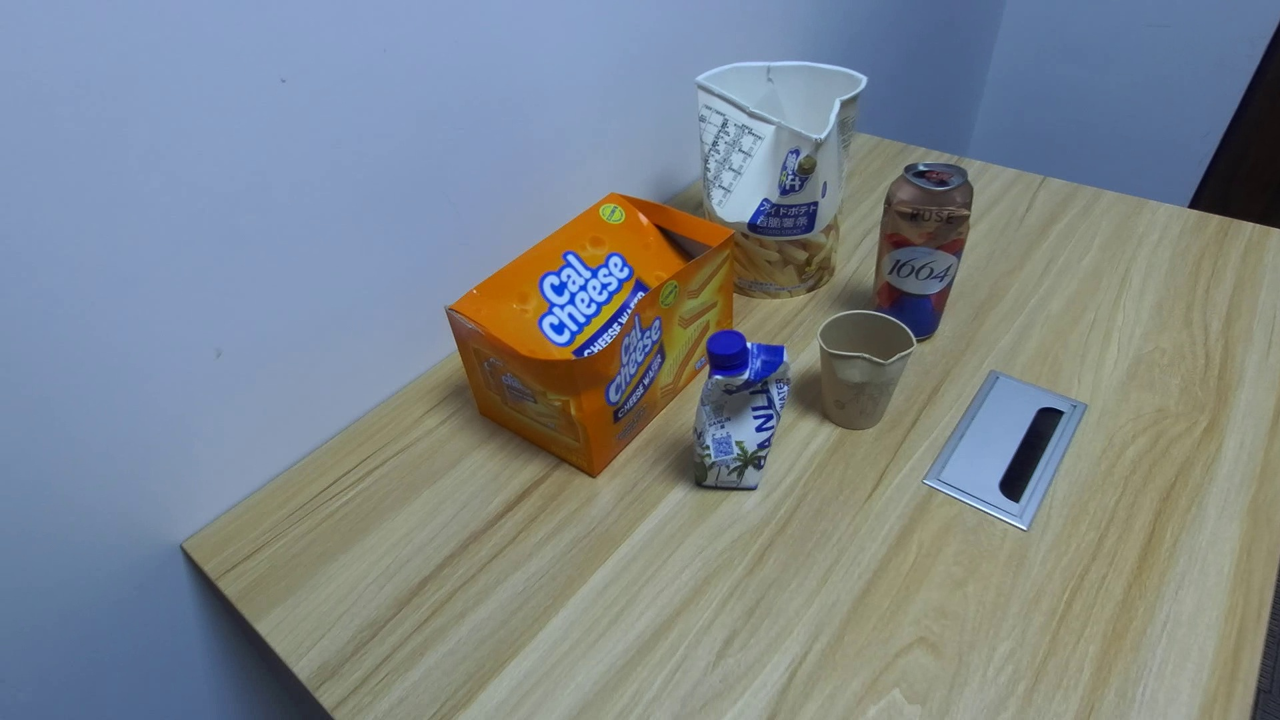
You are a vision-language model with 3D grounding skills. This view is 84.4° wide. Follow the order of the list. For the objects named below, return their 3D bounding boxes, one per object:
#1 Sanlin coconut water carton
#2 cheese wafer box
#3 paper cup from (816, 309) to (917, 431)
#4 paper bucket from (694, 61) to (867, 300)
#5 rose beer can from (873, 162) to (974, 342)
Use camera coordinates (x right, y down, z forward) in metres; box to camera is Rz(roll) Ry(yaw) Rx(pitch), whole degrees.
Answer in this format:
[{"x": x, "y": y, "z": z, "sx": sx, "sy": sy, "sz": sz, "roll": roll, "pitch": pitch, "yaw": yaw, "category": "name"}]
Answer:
[{"x": 0.077, "y": 0.041, "z": 0.536, "sx": 0.068, "sy": 0.145, "sz": 0.056, "roll": 7, "pitch": 49, "yaw": 2, "category": "Sanlin coconut water carton"}, {"x": -0.031, "y": -0.030, "z": 0.640, "sx": 0.151, "sy": 0.132, "sz": 0.231, "roll": 25, "pitch": 50, "yaw": 29, "category": "cheese wafer box"}, {"x": 0.185, "y": 0.011, "z": 0.600, "sx": 0.073, "sy": 0.081, "sz": 0.068, "roll": -26, "pitch": 45, "yaw": -24, "category": "paper cup"}, {"x": 0.133, "y": -0.187, "z": 0.747, "sx": 0.162, "sy": 0.202, "sz": 0.169, "roll": 17, "pitch": 43, "yaw": 24, "category": "paper bucket"}, {"x": 0.263, "y": -0.099, "z": 0.661, "sx": 0.075, "sy": 0.167, "sz": 0.065, "roll": 13, "pitch": 42, "yaw": 25, "category": "rose beer can"}]
